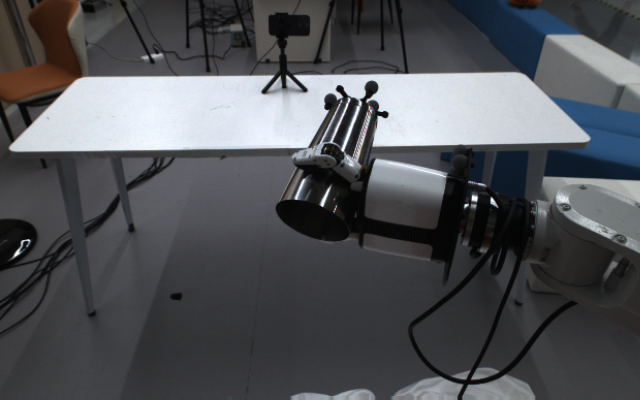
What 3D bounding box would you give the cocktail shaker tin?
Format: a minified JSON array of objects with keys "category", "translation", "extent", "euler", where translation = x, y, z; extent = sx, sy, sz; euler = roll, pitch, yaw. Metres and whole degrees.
[{"category":"cocktail shaker tin","translation":[0.018,-0.044,0.603],"extent":[0.093,0.093,0.170],"euler":[13,60,16]}]
